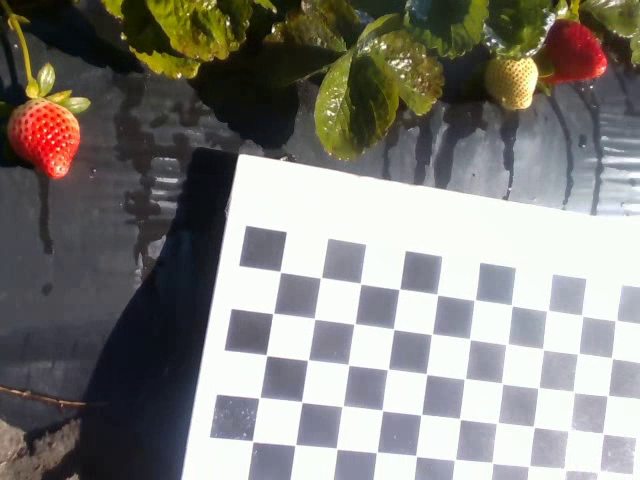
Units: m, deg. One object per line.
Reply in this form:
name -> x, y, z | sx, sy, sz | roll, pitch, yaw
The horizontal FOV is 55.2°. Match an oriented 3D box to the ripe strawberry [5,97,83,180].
ripe strawberry -> -0.140, -0.051, 0.316 | 0.039, 0.053, 0.041 | -12, -20, -12
